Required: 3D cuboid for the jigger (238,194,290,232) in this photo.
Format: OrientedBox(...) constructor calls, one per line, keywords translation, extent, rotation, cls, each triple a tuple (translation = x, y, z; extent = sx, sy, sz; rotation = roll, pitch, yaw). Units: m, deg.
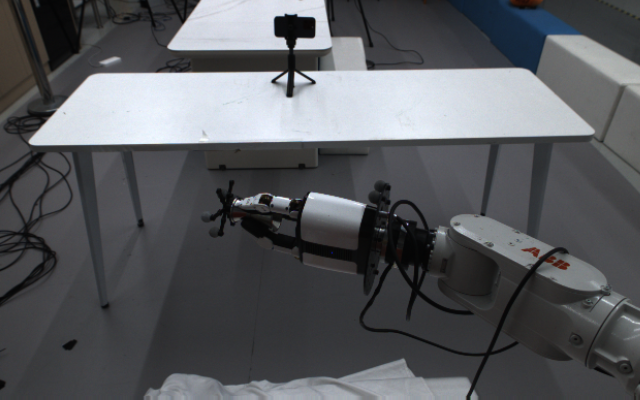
OrientedBox(translation=(-0.089, 0.016, 0.725), extent=(0.071, 0.043, 0.043), rotation=(10, 35, 16), cls="jigger")
